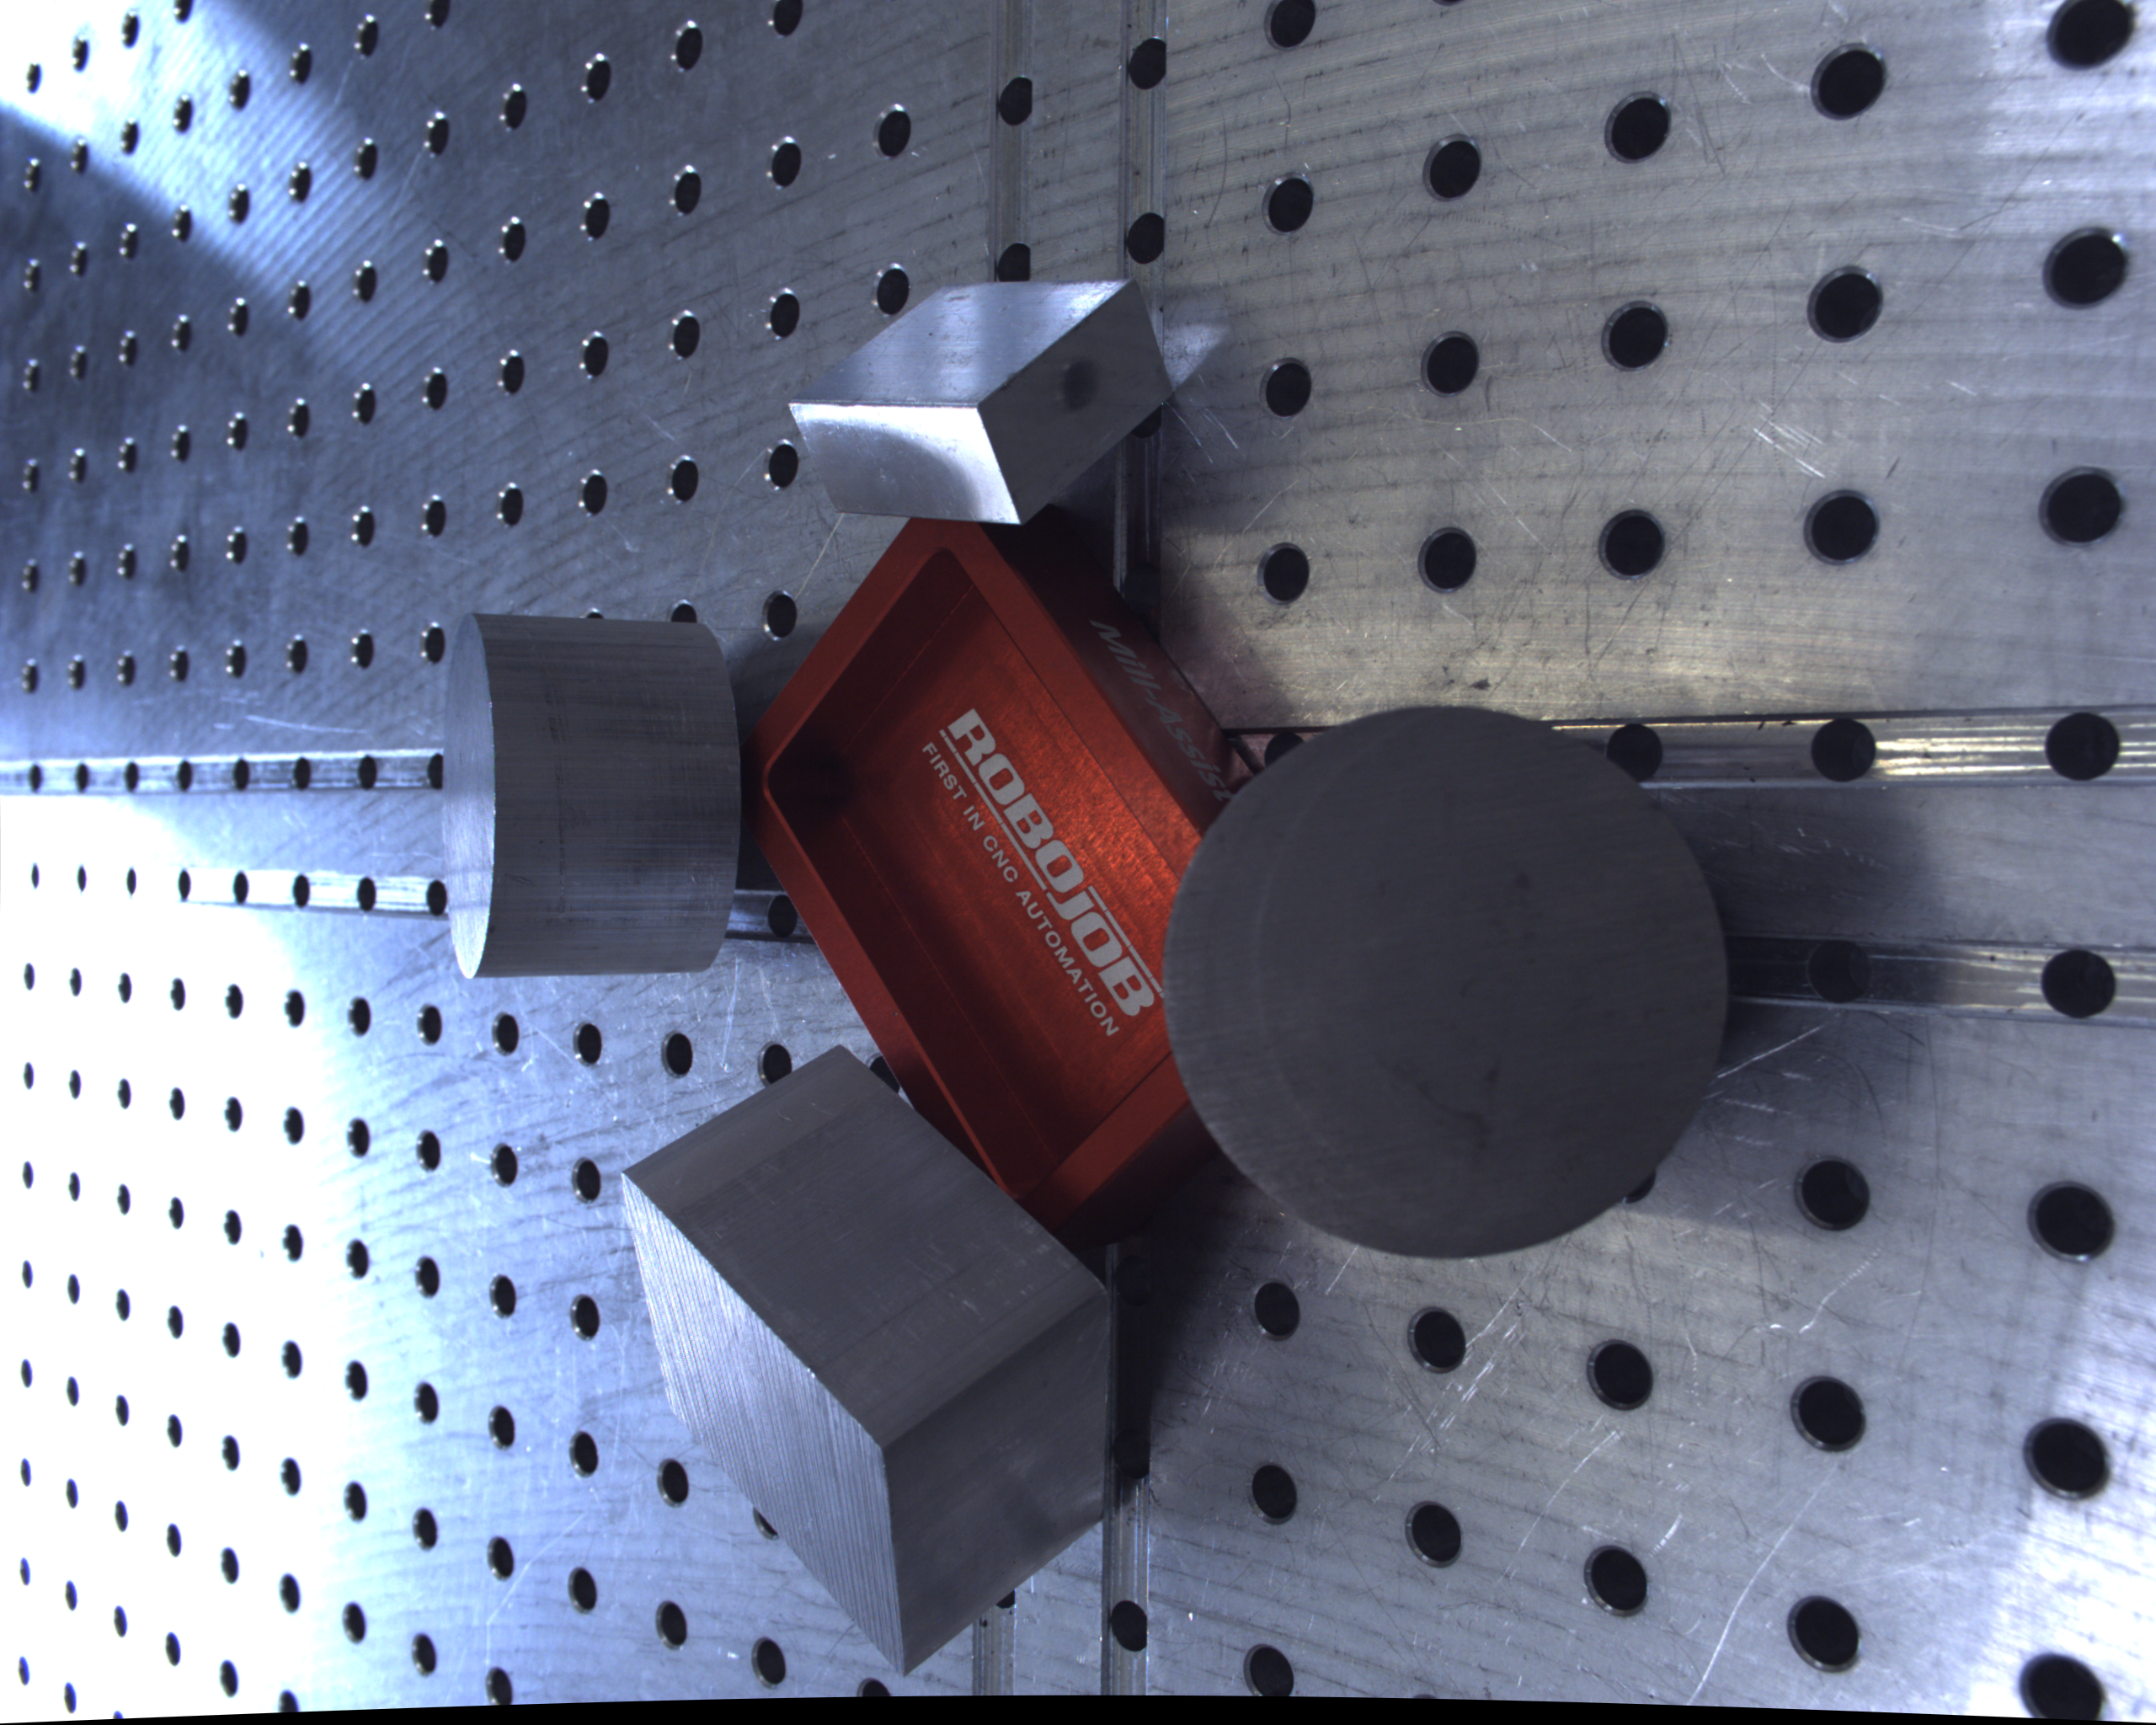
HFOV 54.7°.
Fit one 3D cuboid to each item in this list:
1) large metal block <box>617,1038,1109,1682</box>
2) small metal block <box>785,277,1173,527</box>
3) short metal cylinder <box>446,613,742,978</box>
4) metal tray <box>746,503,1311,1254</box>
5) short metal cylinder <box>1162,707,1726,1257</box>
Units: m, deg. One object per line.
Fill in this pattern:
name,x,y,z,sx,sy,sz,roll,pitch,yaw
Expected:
large metal block,-0.041,0.095,0.404,0.080,0.050,0.079,38,144,33
small metal block,-0.019,-0.090,0.405,0.050,0.050,0.025,12,135,39
short metal cylinder,-0.110,-0.015,0.465,0.080,0.050,0.079,180,90,-65
metal tray,-0.010,0.000,0.413,0.090,0.030,0.130,-49,61,29
short metal cylinder,0.058,0.017,0.325,0.080,0.050,0.079,0,90,13
